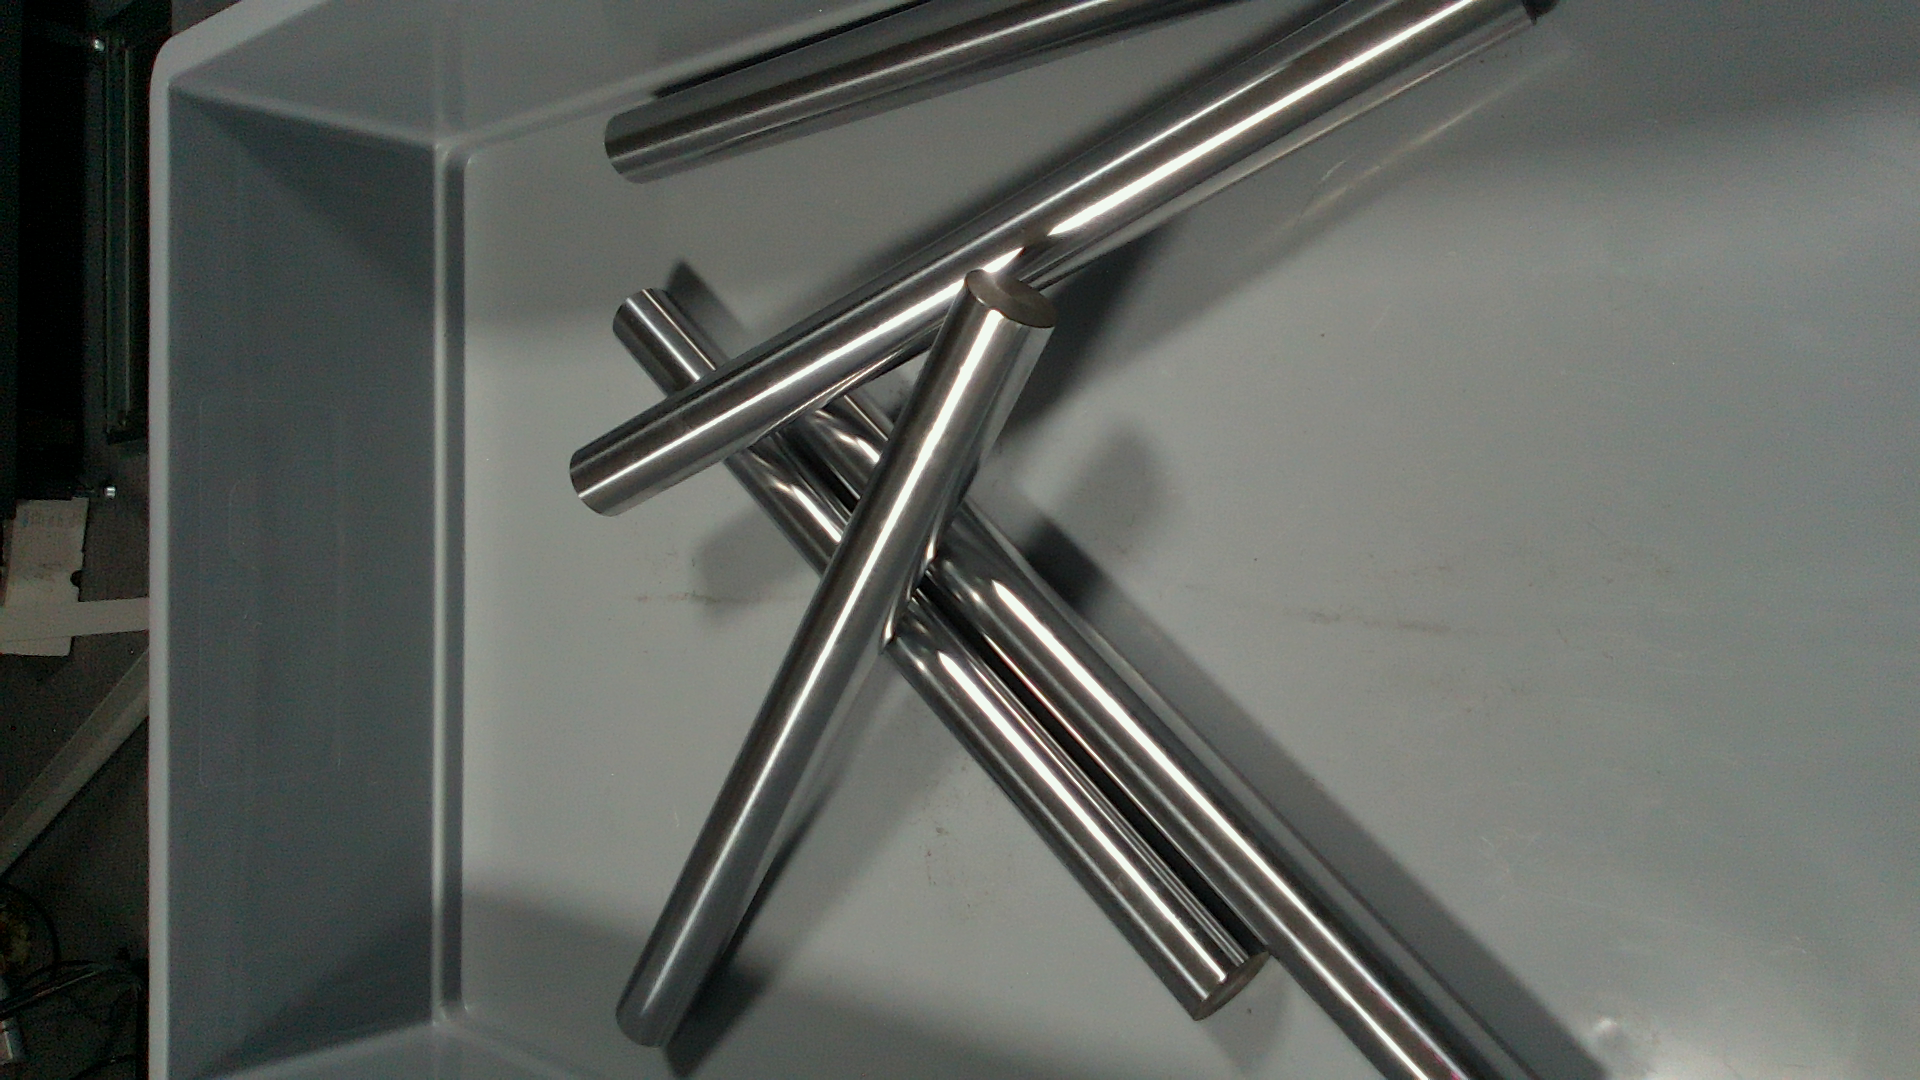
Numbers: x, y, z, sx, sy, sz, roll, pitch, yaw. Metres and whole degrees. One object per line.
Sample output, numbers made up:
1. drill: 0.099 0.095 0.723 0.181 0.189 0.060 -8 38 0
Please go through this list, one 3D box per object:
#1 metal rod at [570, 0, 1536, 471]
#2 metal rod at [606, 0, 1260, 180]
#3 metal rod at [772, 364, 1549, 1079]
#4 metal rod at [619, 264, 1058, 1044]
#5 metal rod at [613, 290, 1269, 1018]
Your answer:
1. metal rod: 0.000 -0.080 0.374 0.299 0.025 0.025 -21 77 32
2. metal rod: -0.002 -0.143 0.395 0.299 0.025 0.025 -1 89 40
3. metal rod: 0.034 0.037 0.366 0.299 0.025 0.025 46 118 30
4. metal rod: -0.048 0.054 0.408 0.025 0.025 0.299 48 127 29
5. metal rod: -0.023 0.015 0.413 0.299 0.025 0.025 46 118 30
